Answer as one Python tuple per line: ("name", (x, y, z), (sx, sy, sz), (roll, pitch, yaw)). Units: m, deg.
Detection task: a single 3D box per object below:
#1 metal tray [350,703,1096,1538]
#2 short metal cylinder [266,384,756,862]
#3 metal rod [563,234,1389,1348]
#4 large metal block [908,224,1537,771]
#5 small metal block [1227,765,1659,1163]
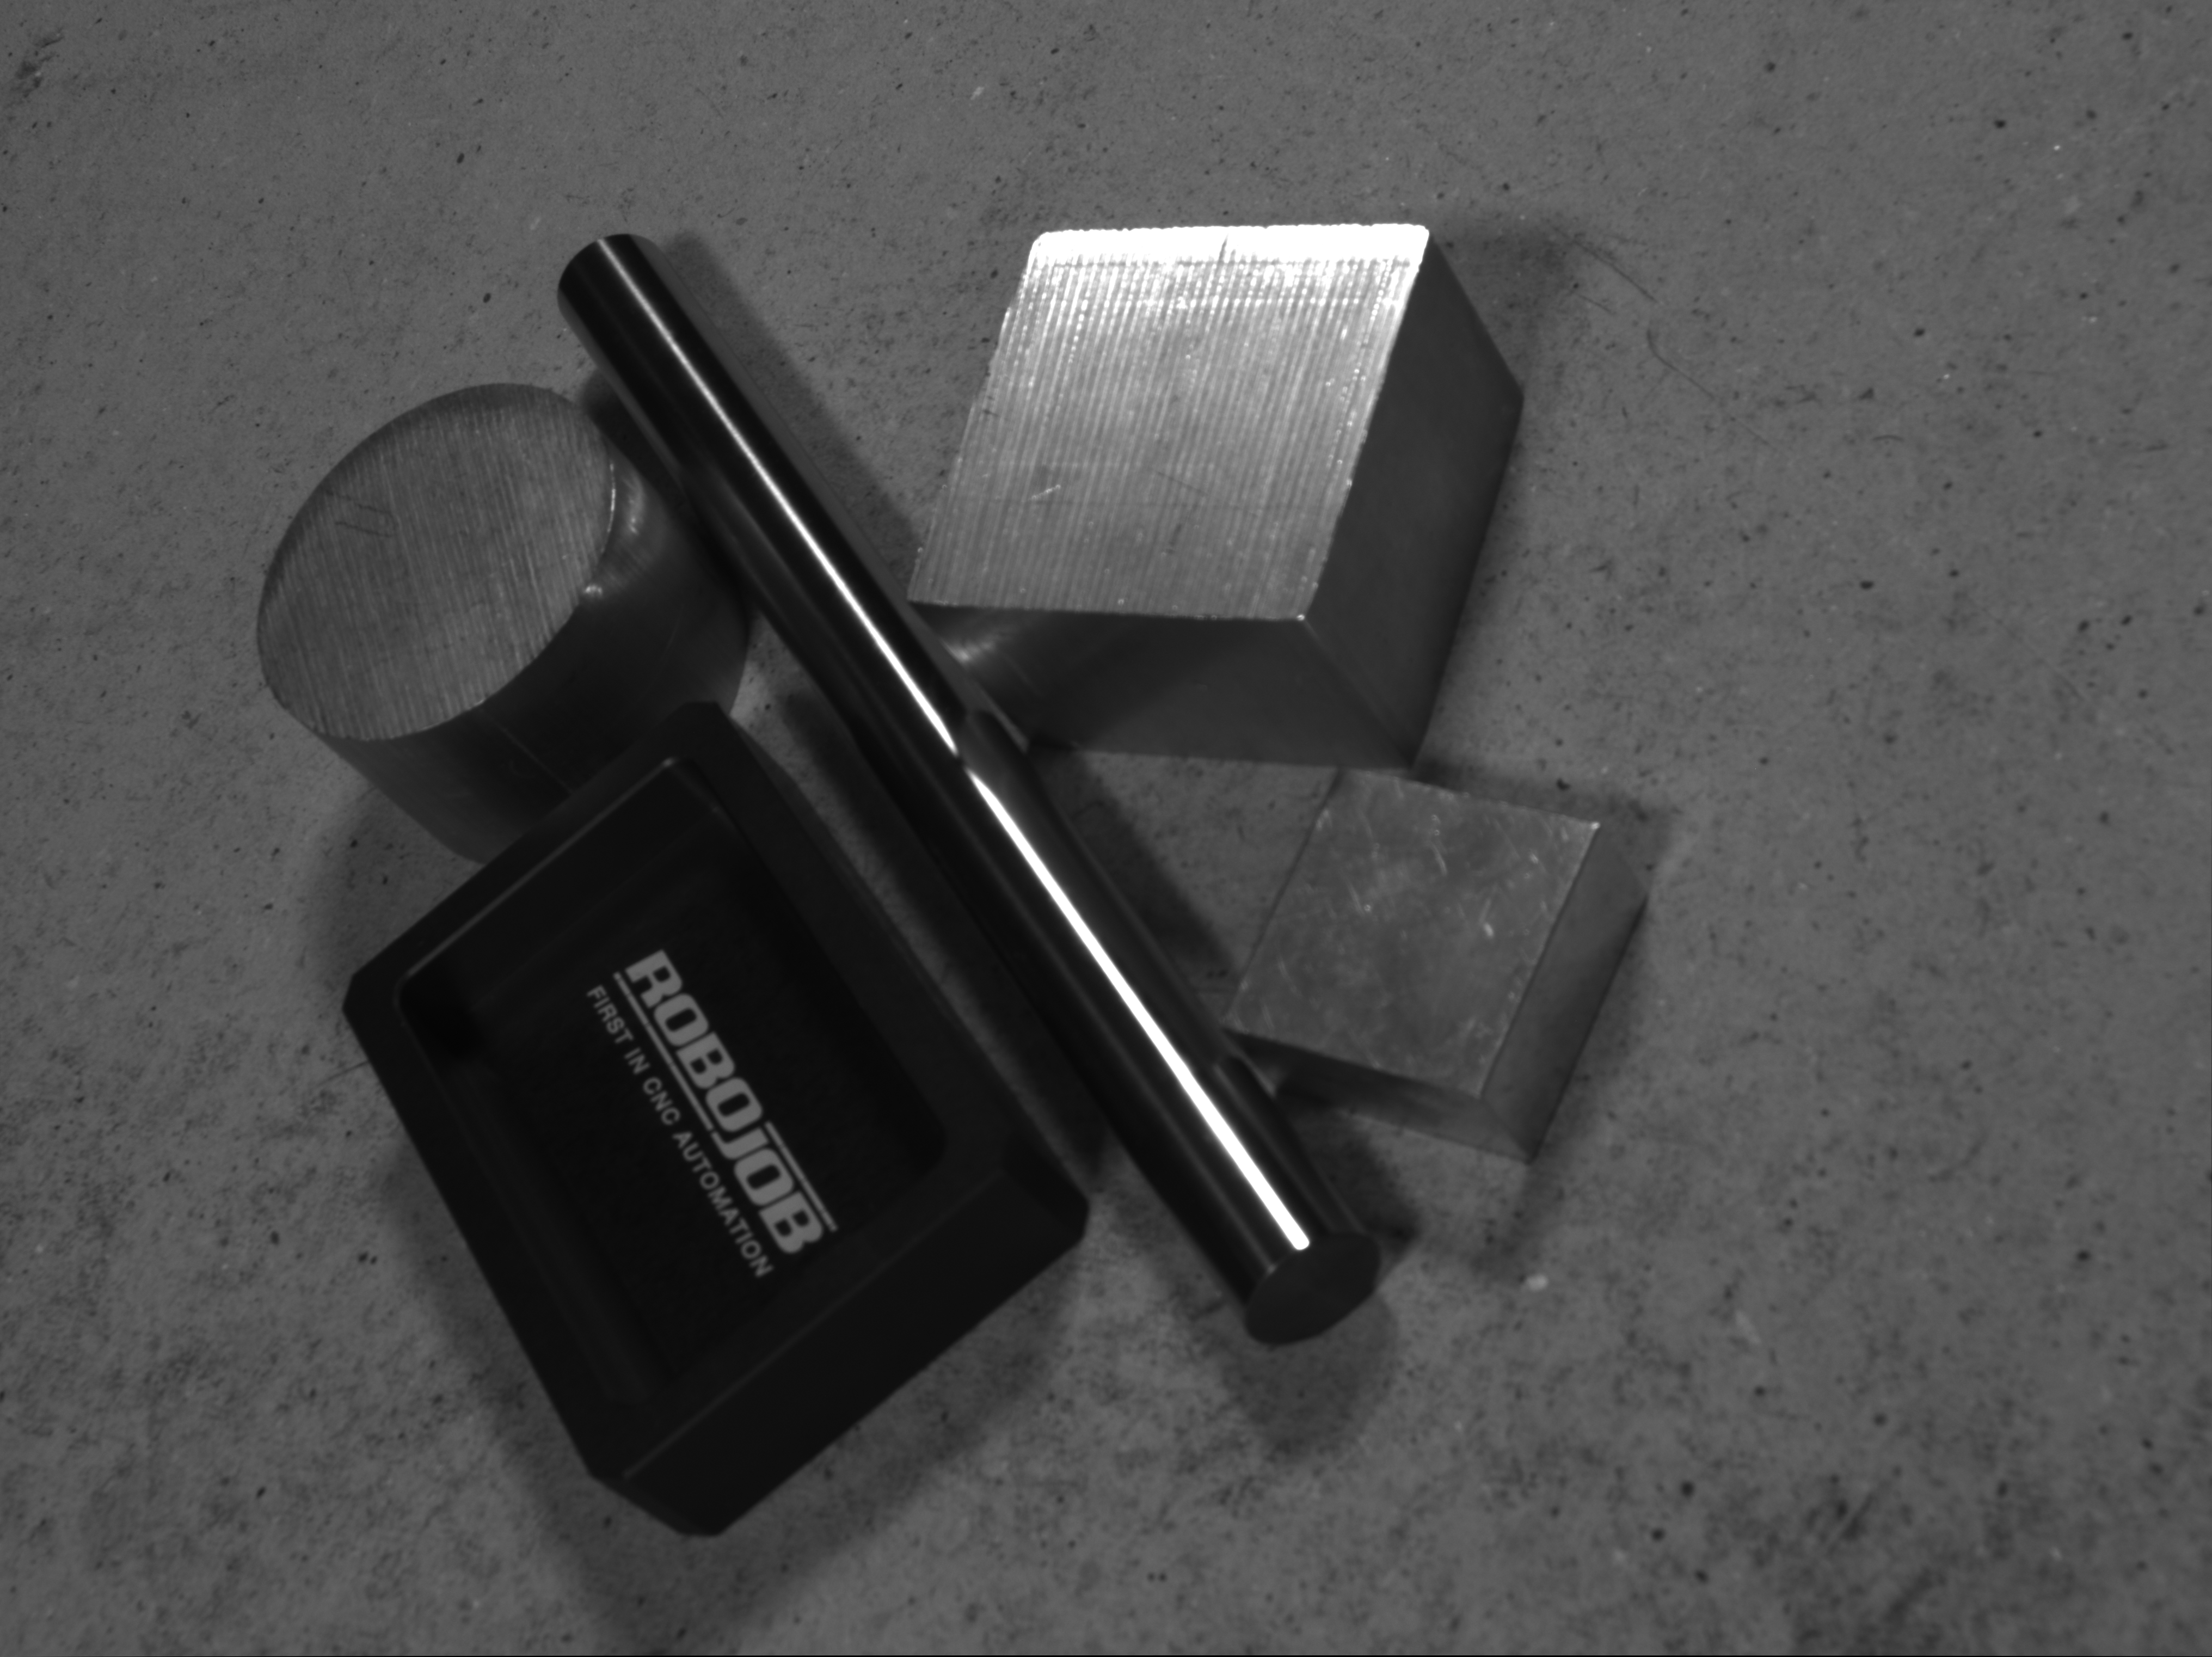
("metal tray", (-0.071, 0.049, 0.649), (0.090, 0.030, 0.130), (-39, 51, 2))
("short metal cylinder", (-0.116, -0.039, 0.715), (0.080, 0.050, 0.080), (-13, 56, 21))
("metal rod", (-0.034, -0.020, 0.675), (0.025, 0.025, 0.299), (-38, 51, 3))
("large metal block", (0.022, -0.060, 0.653), (0.080, 0.050, 0.080), (4, 64, 30))
("small metal block", (0.056, 0.022, 0.602), (0.050, 0.025, 0.050), (14, 69, 34))
